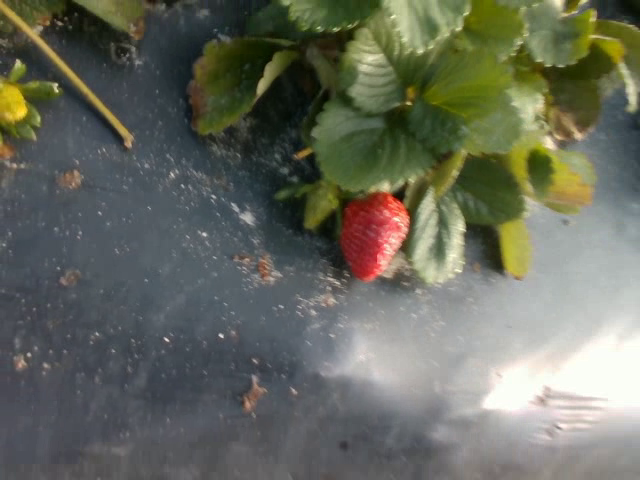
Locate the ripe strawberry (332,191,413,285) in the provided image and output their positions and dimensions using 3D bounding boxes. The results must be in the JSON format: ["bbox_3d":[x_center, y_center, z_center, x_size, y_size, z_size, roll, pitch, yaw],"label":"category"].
[{"bbox_3d":[0.018,0.002,0.159,0.029,0.036,0.021,9,-11,-10],"label":"ripe strawberry"}]
